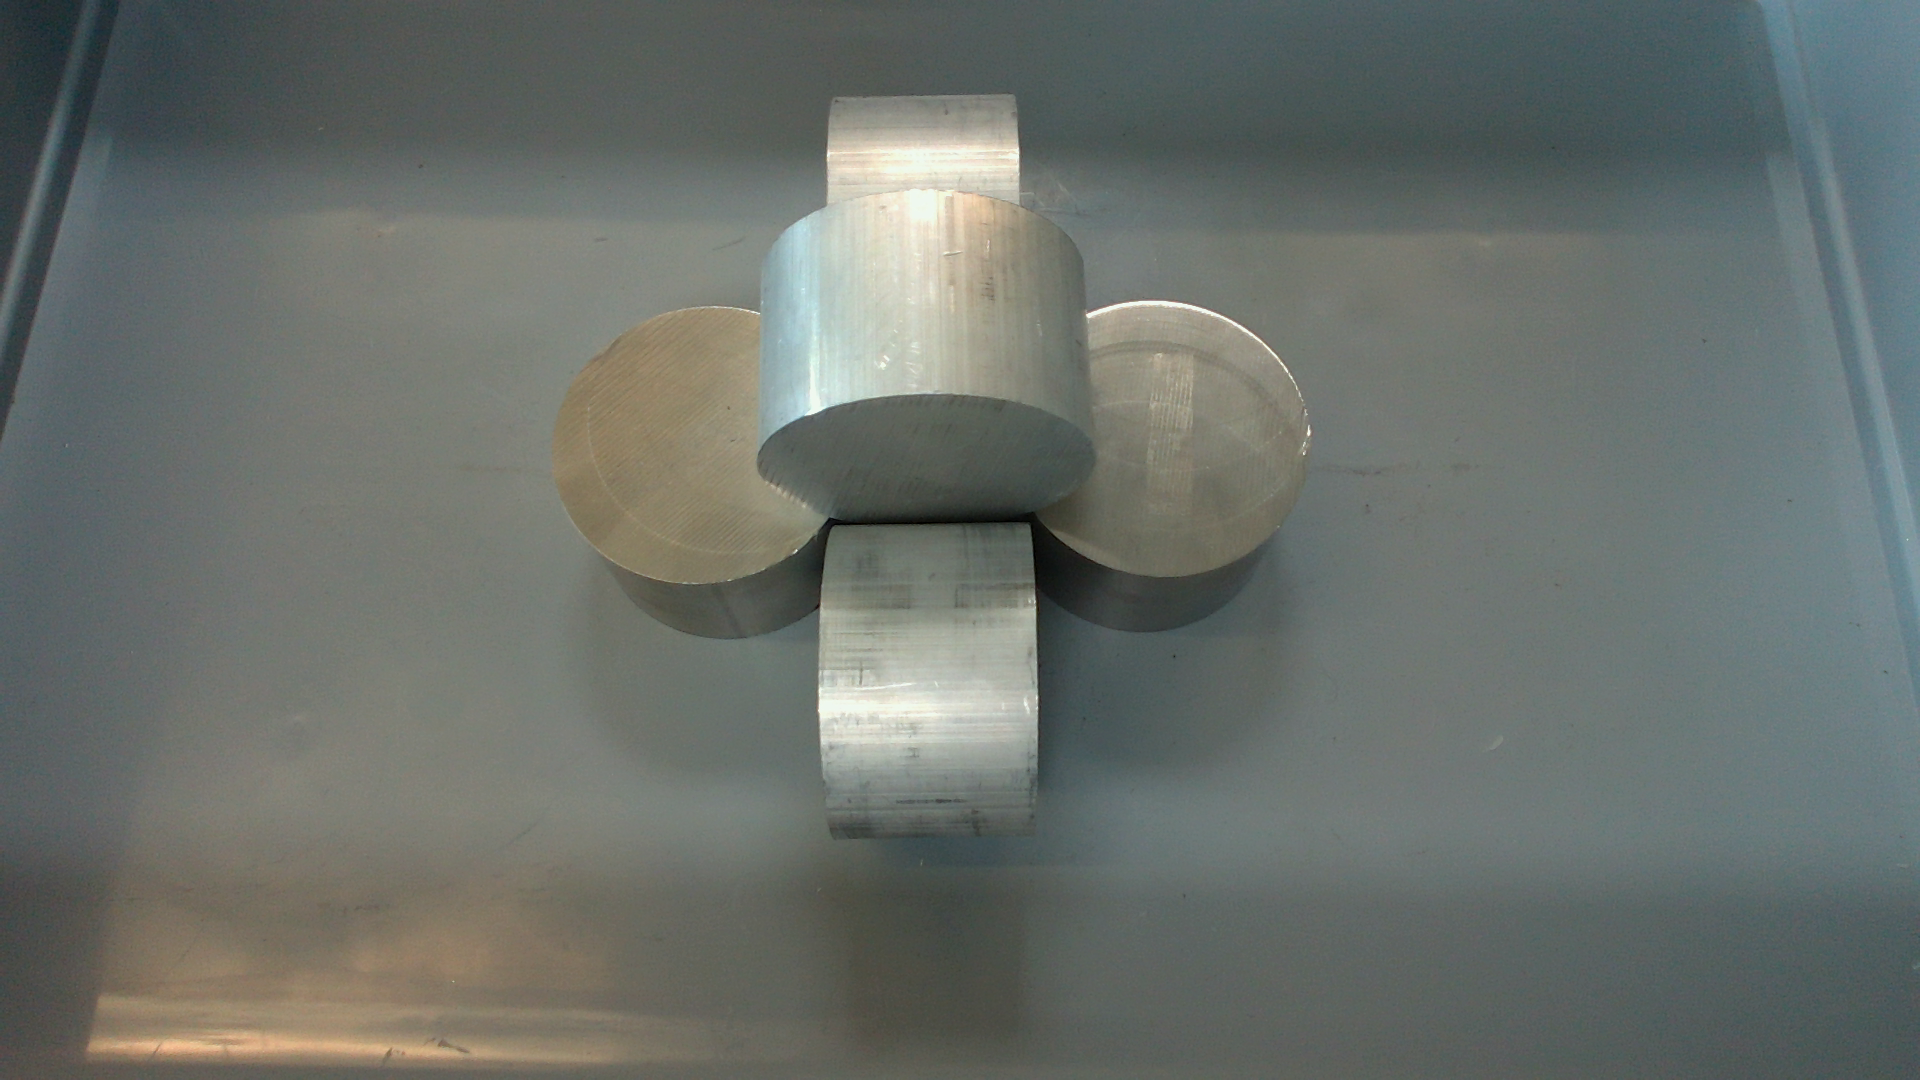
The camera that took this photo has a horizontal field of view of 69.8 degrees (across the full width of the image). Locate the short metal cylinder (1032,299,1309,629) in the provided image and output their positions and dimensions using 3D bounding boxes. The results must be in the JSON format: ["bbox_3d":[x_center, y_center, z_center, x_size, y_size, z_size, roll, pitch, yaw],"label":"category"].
[{"bbox_3d":[0.052,-0.020,0.387,0.080,0.050,0.080,0,70,0],"label":"short metal cylinder"}]

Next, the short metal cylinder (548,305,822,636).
[{"bbox_3d":[-0.068,-0.018,0.386,0.080,0.050,0.080,0,70,0],"label":"short metal cylinder"}]

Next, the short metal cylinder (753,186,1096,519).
[{"bbox_3d":[-0.009,-0.041,0.332,0.080,0.080,0.050,-1,70,0],"label":"short metal cylinder"}]

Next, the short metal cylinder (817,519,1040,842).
[{"bbox_3d":[-0.008,0.035,0.351,0.050,0.080,0.080,-2,70,-1],"label":"short metal cylinder"}]

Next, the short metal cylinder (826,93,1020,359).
[{"bbox_3d":[-0.010,-0.086,0.395,0.050,0.080,0.080,-2,70,-1],"label":"short metal cylinder"}]
